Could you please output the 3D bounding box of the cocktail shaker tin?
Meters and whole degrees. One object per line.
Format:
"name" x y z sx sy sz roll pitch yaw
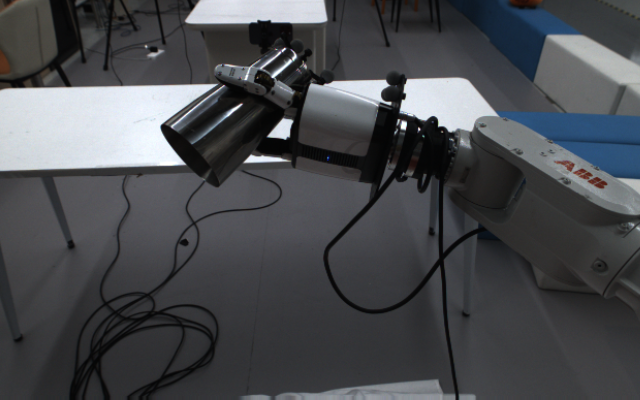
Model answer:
"cocktail shaker tin" -0.089 -0.110 0.568 0.093 0.093 0.170 32 66 36
